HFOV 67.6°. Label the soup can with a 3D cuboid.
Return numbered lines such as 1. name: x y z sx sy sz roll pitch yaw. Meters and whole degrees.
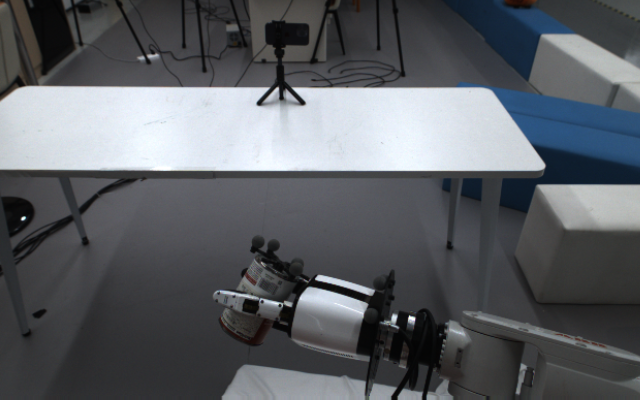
1. soup can: -0.079 0.132 0.641 0.067 0.101 0.067 30 2 -1
